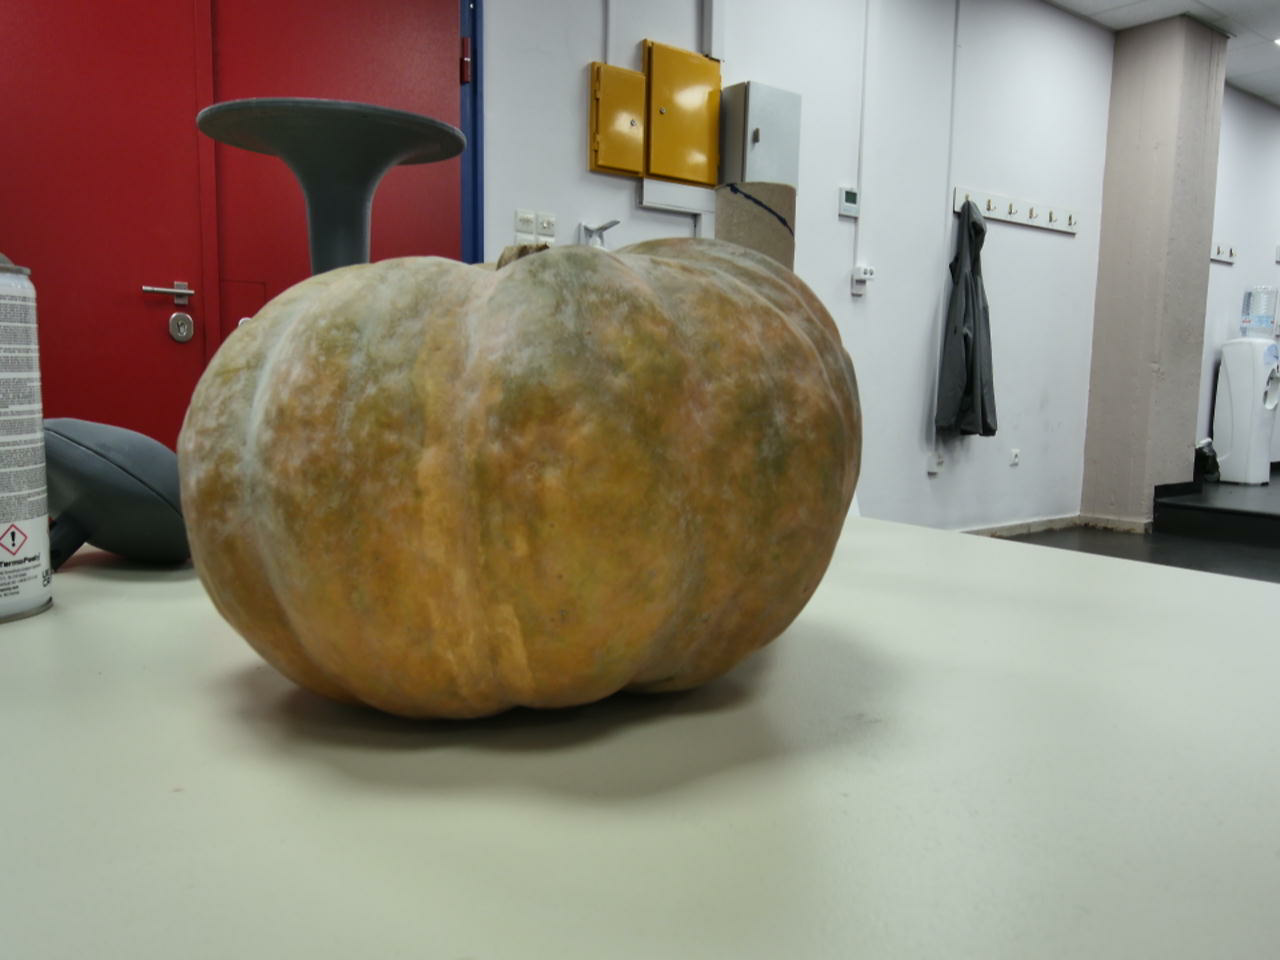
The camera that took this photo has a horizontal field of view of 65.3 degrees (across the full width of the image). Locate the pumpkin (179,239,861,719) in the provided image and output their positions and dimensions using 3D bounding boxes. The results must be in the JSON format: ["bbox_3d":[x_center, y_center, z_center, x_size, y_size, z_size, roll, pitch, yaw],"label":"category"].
[{"bbox_3d":[-0.043,-0.008,0.379,0.252,0.168,0.252,0,4,0],"label":"pumpkin"}]
